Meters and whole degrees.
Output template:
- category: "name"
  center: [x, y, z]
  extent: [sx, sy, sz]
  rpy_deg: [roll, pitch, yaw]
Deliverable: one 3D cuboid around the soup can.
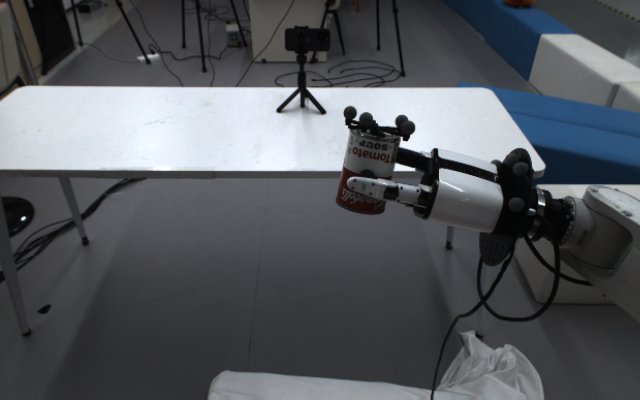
- category: "soup can"
  center: [0.064, -0.041, 0.636]
  extent: [0.067, 0.101, 0.067]
  rpy_deg: [9, 20, -3]
